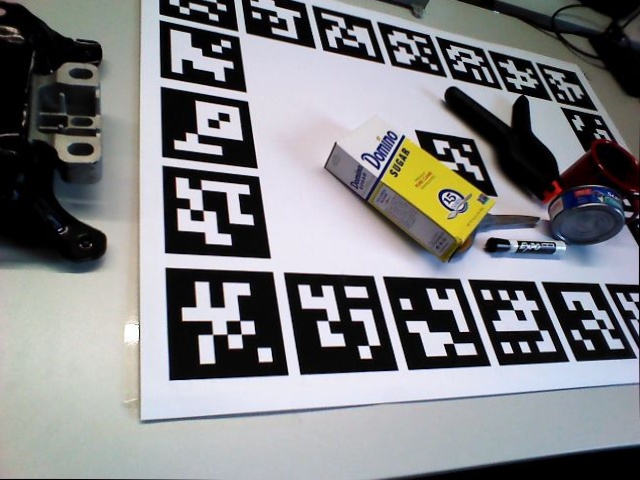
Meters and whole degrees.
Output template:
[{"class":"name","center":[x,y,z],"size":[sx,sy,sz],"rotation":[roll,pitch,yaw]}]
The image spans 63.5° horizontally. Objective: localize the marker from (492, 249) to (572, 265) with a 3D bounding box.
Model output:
[{"class":"marker","center":[0.262,0.021,0.639],"size":[0.121,0.020,0.019],"rotation":[0,61,-25]}]

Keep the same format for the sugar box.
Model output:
[{"class":"sugar box","center":[0.120,-0.053,0.594],"size":[0.176,0.045,0.092],"rotation":[43,51,12]}]

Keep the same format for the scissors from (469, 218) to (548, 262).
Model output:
[{"class":"scissors","center":[0.215,-0.019,0.639],"size":[0.202,0.016,0.087],"rotation":[-6,59,-30]}]

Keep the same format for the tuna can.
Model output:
[{"class":"tuna can","center":[0.362,-0.019,0.671],"size":[0.086,0.086,0.033],"rotation":[19,54,-14]}]

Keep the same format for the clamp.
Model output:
[{"class":"clamp","center":[0.298,-0.128,0.753],"size":[0.165,0.037,0.202],"rotation":[-6,64,-29]}]

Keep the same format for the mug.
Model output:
[{"class":"mug","center":[0.406,-0.059,0.723],"size":[0.092,0.082,0.117],"rotation":[-25,70,-36]}]
